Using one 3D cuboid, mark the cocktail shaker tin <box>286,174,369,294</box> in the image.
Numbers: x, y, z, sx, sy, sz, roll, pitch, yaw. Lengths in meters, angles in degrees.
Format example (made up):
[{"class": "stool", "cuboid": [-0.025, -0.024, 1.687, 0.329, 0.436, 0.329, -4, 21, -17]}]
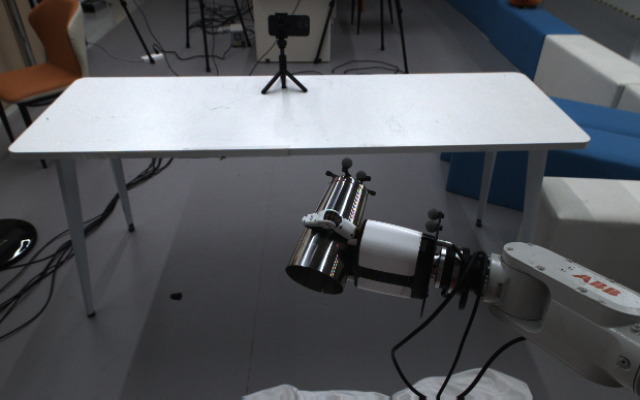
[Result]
[{"class": "cocktail shaker tin", "cuboid": [0.018, 0.049, 0.748, 0.093, 0.093, 0.170, 14, 61, 17]}]
